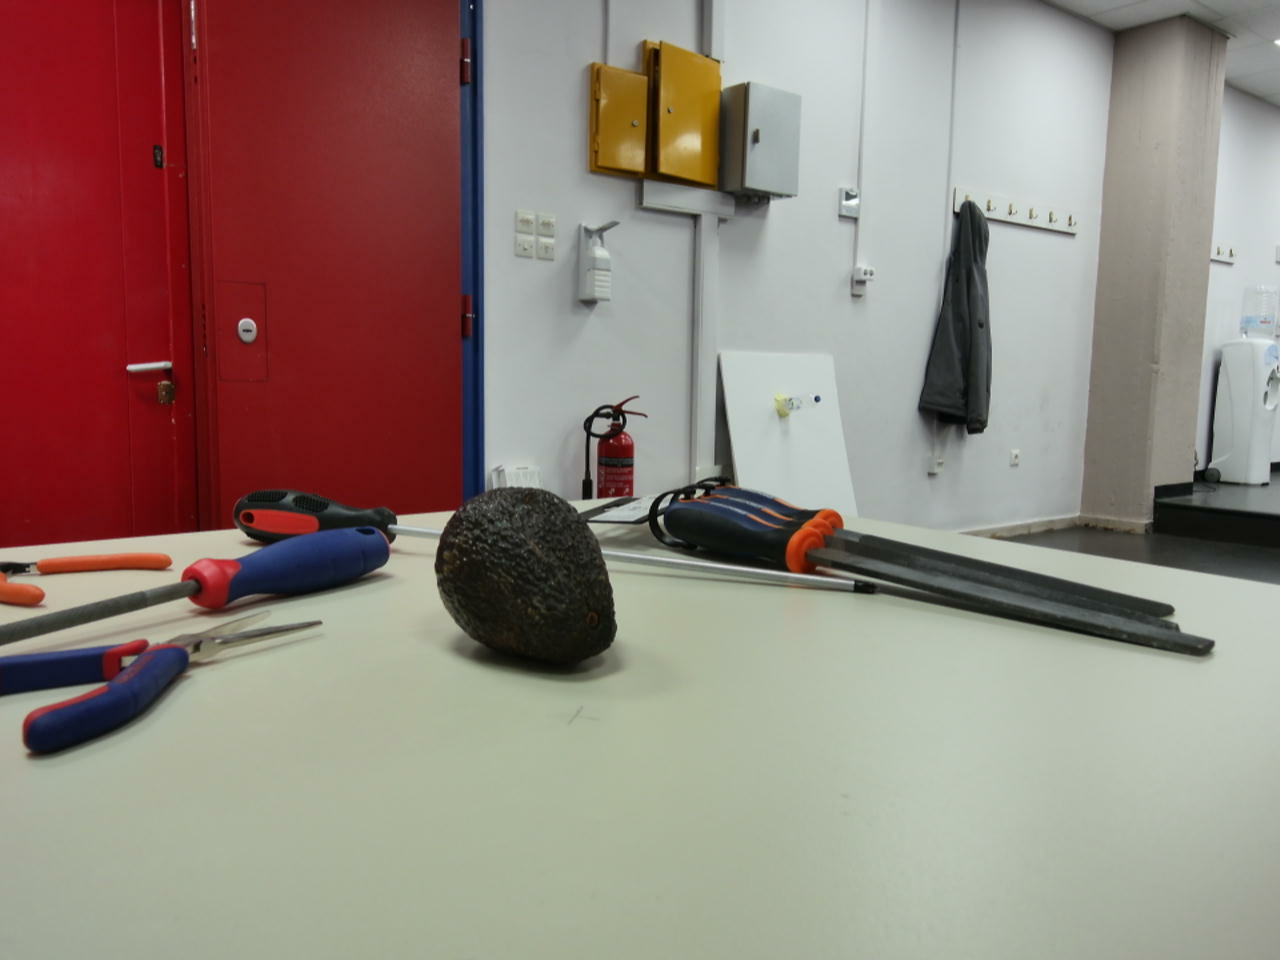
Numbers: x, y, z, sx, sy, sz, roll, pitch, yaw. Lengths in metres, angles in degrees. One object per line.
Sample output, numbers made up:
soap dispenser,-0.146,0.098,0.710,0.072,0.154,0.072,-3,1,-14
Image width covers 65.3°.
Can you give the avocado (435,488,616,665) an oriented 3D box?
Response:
avocado,-0.049,0.038,0.416,0.070,0.069,0.090,-1,4,-13
